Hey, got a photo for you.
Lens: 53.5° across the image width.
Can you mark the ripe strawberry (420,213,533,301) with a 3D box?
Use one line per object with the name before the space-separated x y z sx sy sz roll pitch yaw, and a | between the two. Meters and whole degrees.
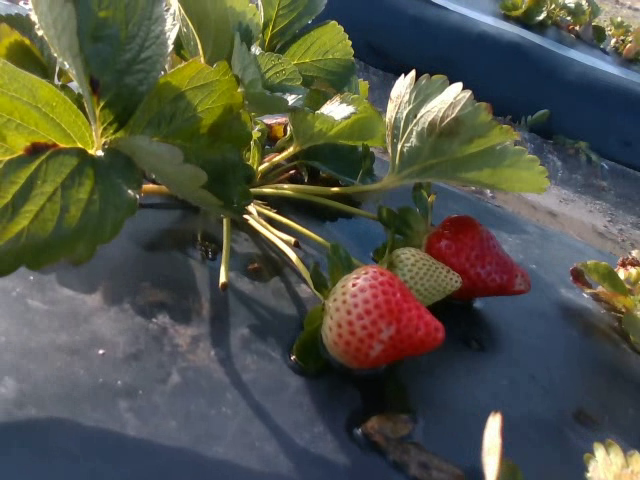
ripe strawberry | 0.082 0.012 0.315 0.064 0.049 0.050 34 -19 10
